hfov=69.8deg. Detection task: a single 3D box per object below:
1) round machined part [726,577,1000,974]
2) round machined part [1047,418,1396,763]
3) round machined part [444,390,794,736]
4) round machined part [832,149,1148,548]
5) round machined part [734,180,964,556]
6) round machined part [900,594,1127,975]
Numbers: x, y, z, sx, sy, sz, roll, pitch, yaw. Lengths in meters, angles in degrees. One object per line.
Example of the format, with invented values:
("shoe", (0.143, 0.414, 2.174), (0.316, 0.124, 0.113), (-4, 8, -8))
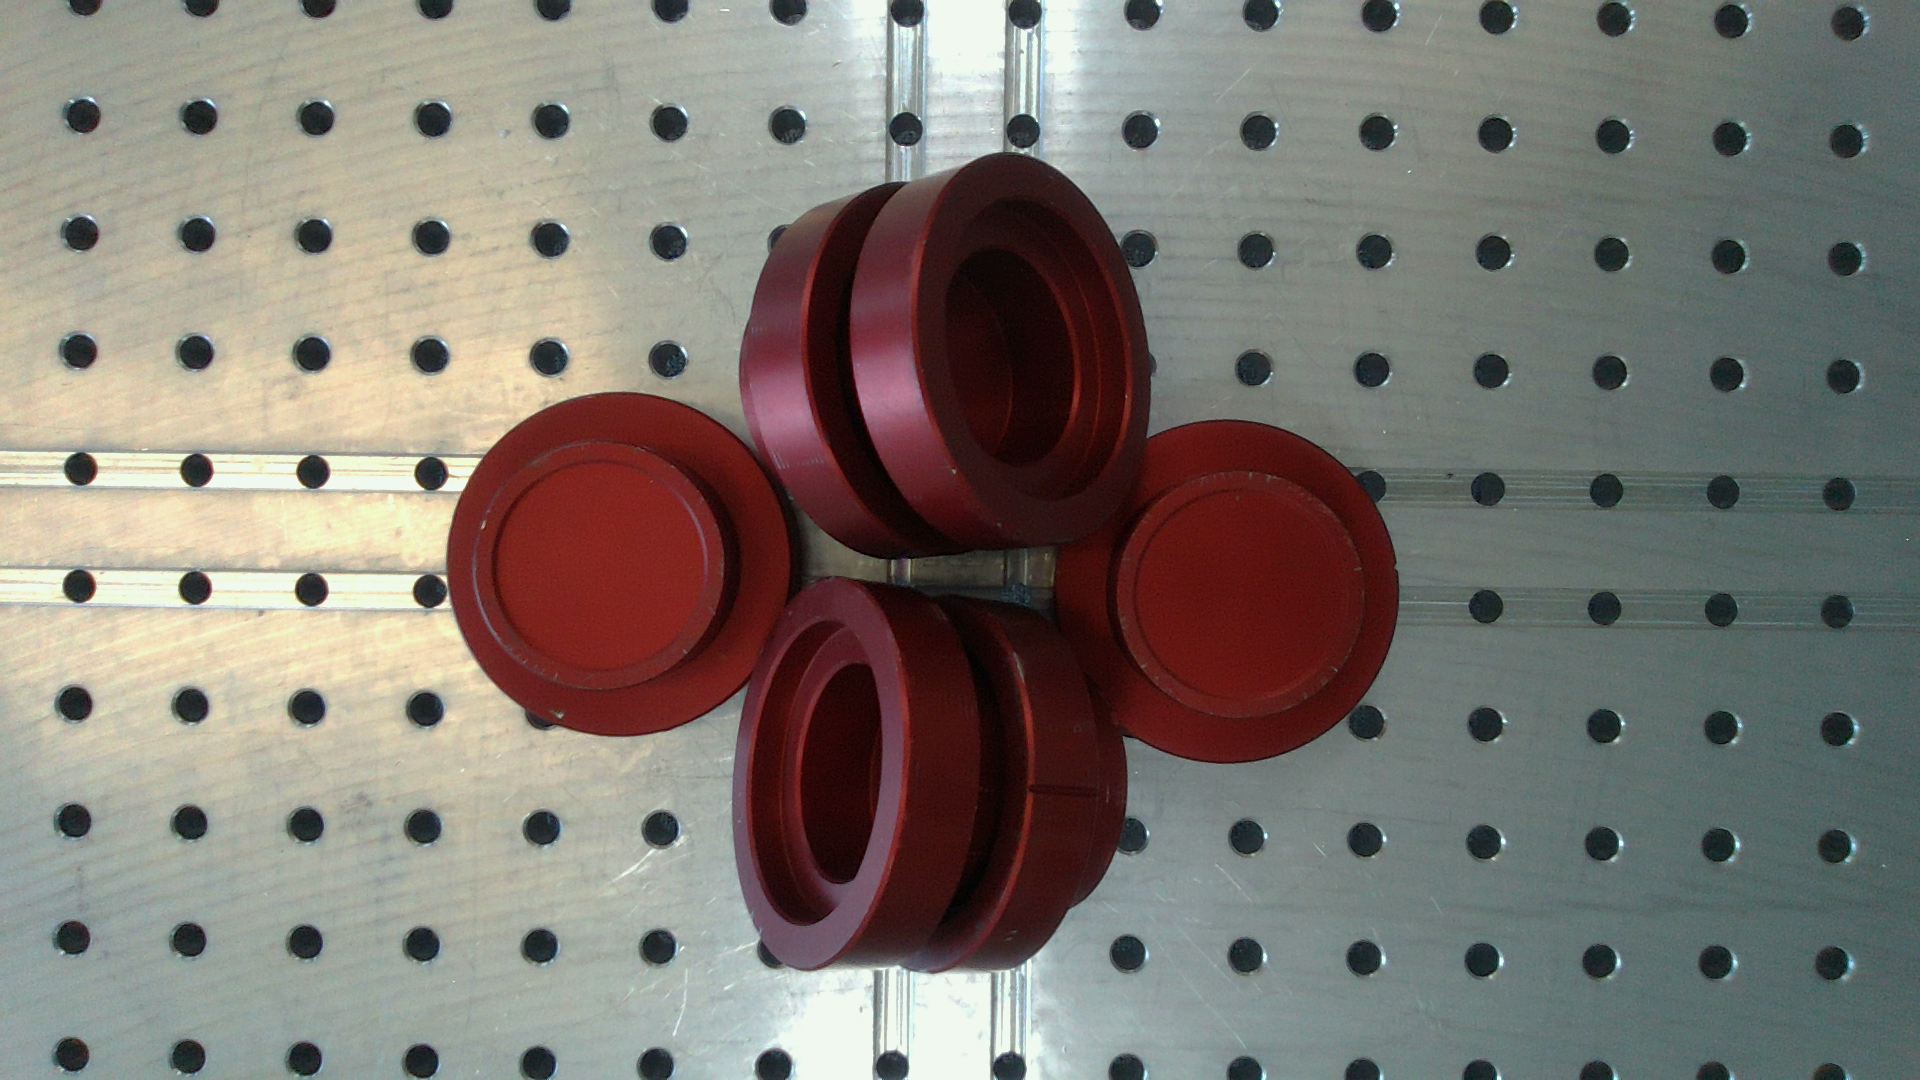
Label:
("round machined part", (-0.022, 0.061, 0.357), (0.042, 0.098, 0.098), (10, 90, -32))
("round machined part", (0.075, 0.014, 0.390), (0.098, 0.042, 0.098), (0, 90, 0))
("round machined part", (-0.097, 0.007, 0.388), (0.098, 0.042, 0.098), (0, 90, 0))
("round machined part", (0.005, -0.046, 0.354), (0.042, 0.098, 0.098), (-6, 90, 40))
("round machined part", (-0.022, -0.044, 0.372), (0.042, 0.098, 0.098), (-6, 90, 40))
("round machined part", (0.008, 0.066, 0.371), (0.042, 0.098, 0.098), (10, 90, -32))
